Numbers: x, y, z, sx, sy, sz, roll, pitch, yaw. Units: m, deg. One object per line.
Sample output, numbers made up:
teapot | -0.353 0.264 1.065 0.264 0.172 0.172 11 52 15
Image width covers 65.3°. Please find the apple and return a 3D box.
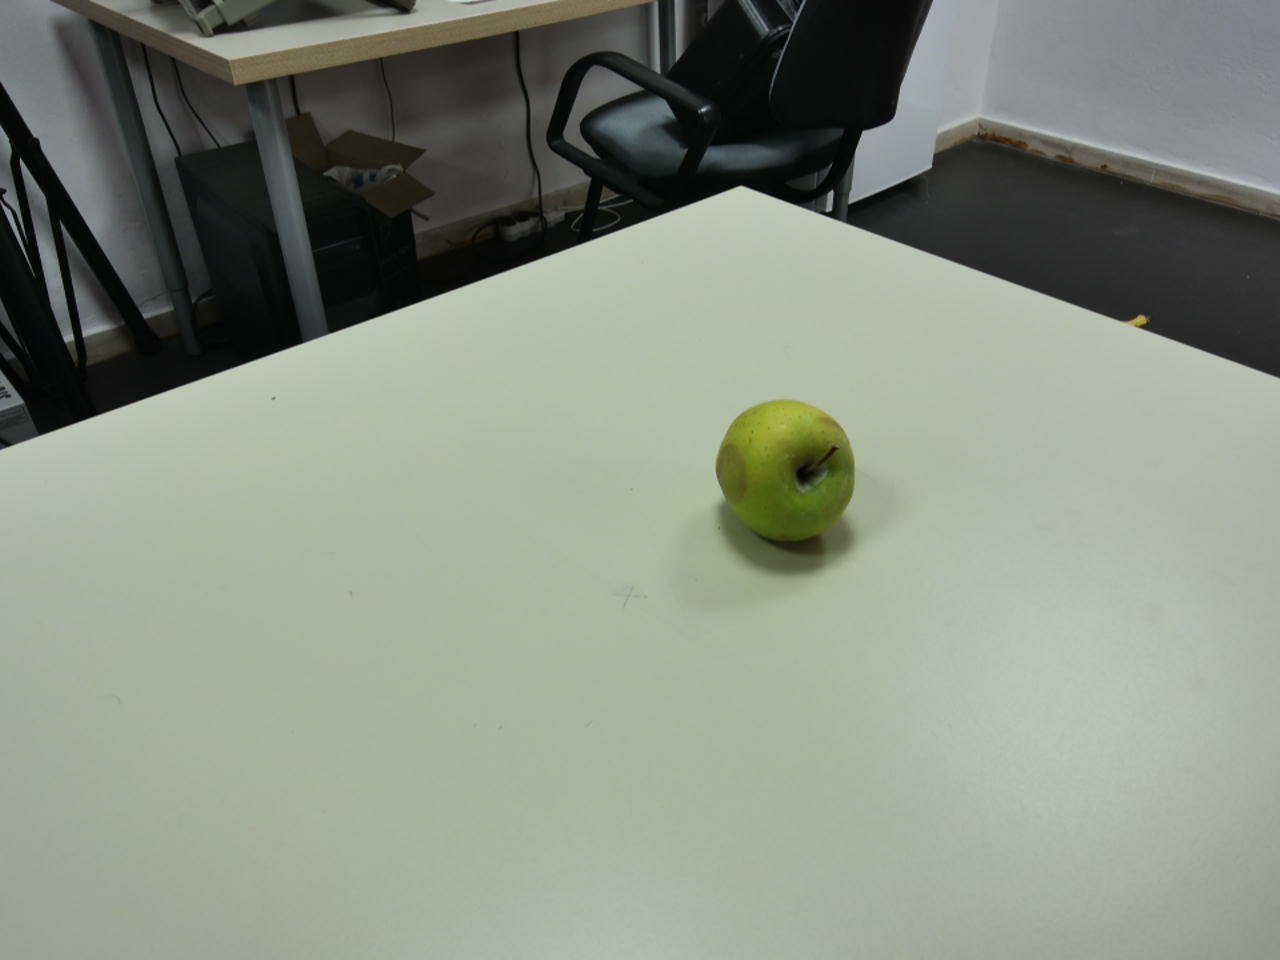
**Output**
apple | 0.077 -0.007 0.531 0.072 0.075 0.077 2 36 4
